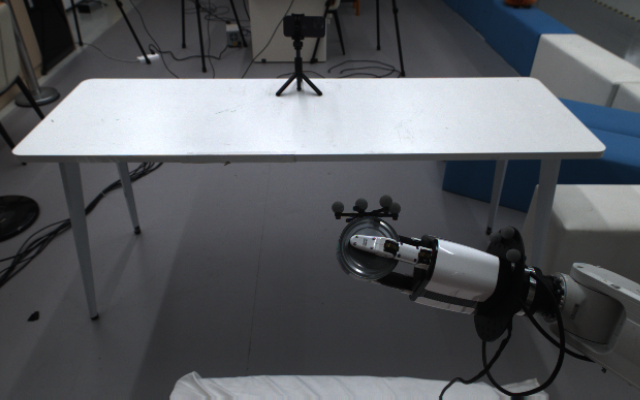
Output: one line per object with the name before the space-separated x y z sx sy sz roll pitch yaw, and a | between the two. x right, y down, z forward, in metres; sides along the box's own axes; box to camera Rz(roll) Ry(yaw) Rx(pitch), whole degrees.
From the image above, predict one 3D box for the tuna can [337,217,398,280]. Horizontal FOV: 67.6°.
tuna can | 0.067 0.065 0.656 0.085 0.034 0.085 1 69 -3
